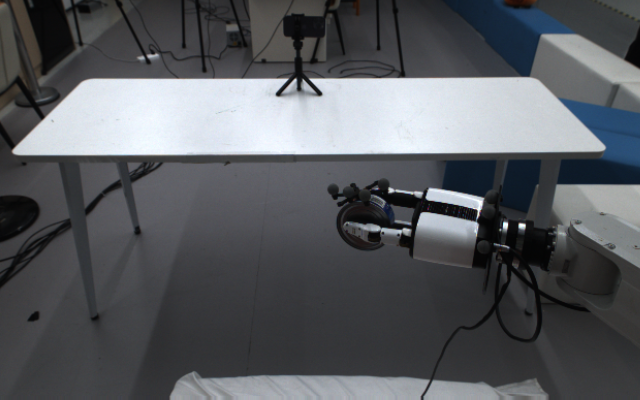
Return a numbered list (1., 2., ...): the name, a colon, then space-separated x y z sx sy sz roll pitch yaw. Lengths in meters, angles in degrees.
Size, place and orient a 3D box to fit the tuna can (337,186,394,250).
1. tuna can: 0.072 0.033 0.742 0.085 0.085 0.034 13 29 15
